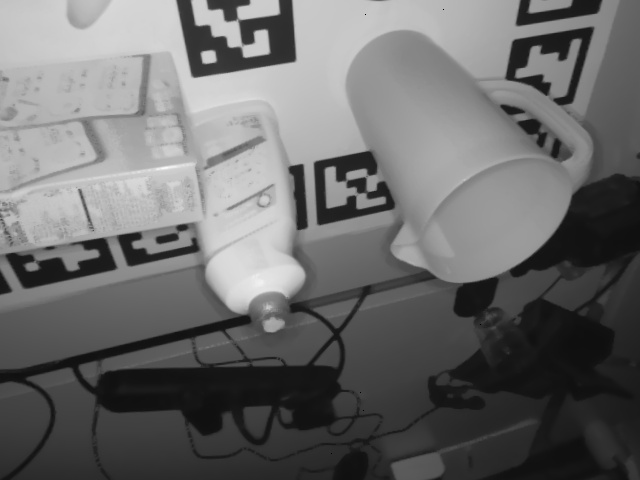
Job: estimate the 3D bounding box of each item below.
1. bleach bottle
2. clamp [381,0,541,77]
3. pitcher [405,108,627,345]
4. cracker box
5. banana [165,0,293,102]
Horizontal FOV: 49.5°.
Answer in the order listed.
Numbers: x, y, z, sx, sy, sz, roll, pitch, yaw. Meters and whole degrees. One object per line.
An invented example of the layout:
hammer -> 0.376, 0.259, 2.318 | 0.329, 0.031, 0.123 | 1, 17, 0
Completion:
bleach bottle -> -0.008, 0.015, 0.699 | 0.103, 0.251, 0.067 | -9, 137, -13
clamp -> 0.142, -0.207, 0.692 | 0.165, 0.037, 0.121 | -20, 139, 0
pitcher -> 0.180, -0.030, 0.703 | 0.189, 0.243, 0.133 | -20, 138, 3
cracker box -> -0.162, -0.032, 0.629 | 0.216, 0.164, 0.071 | -9, 139, -16
banana -> -0.073, -0.194, 0.629 | 0.196, 0.039, 0.074 | -33, 137, 11
